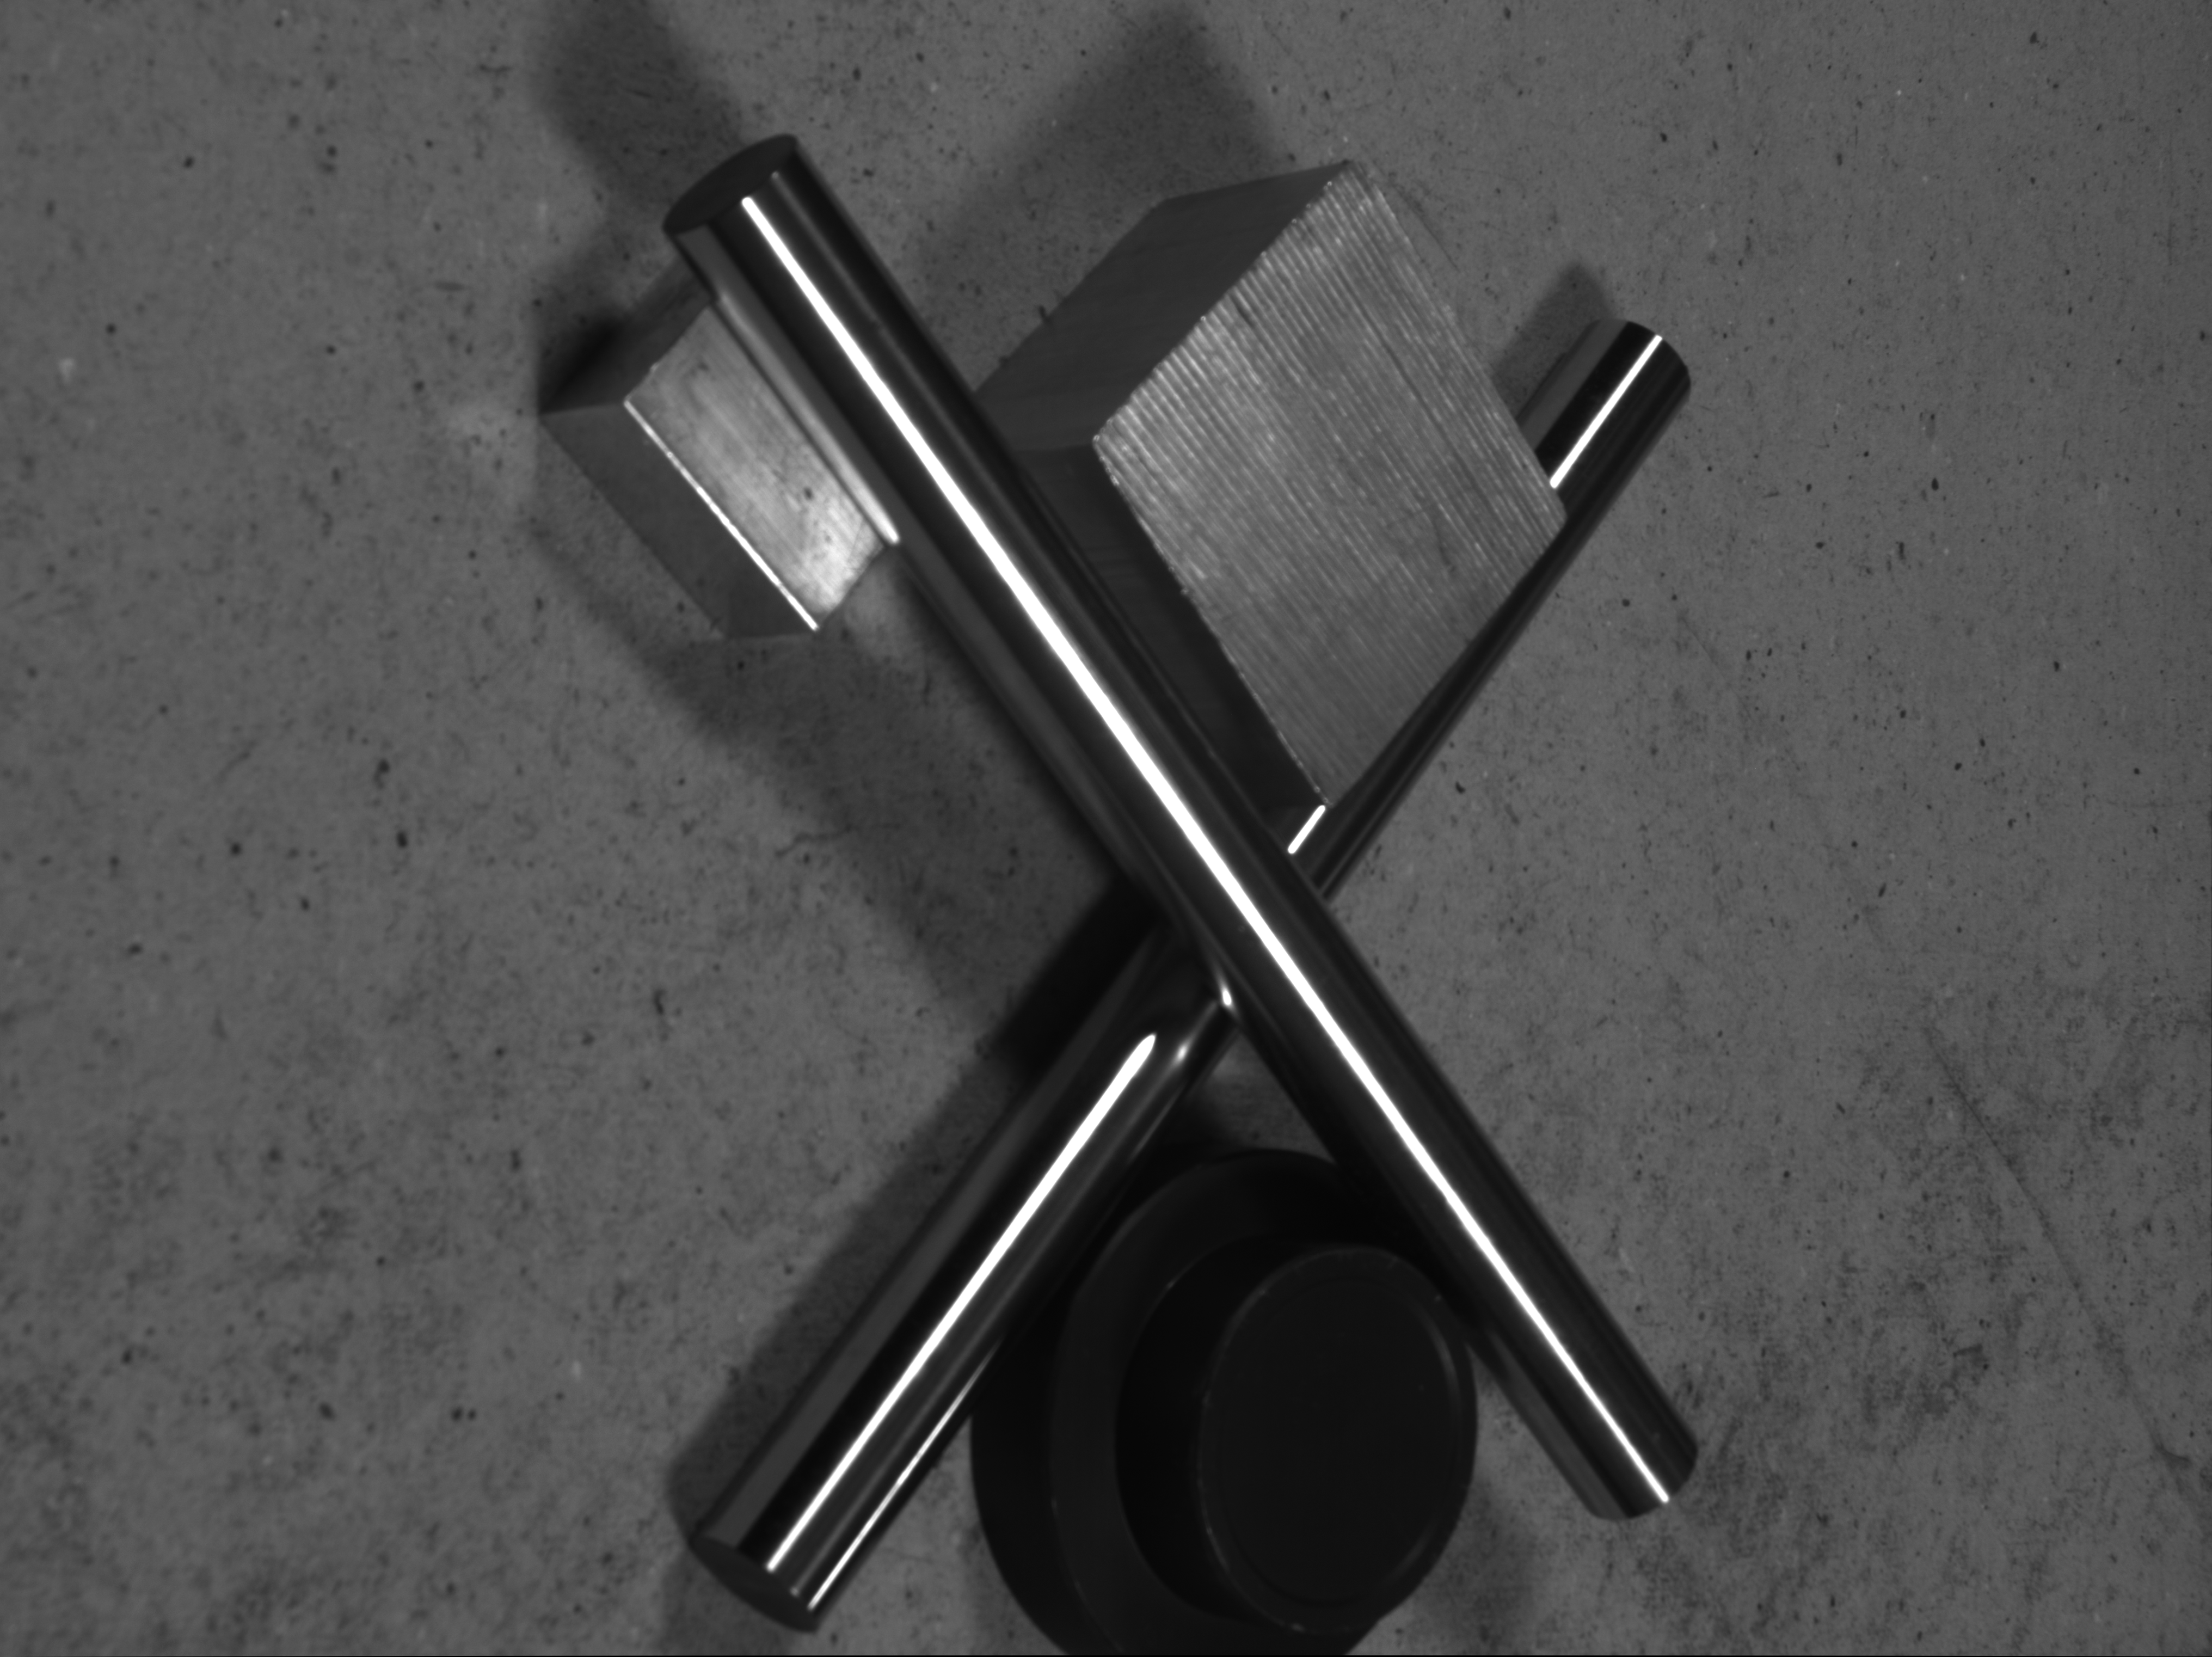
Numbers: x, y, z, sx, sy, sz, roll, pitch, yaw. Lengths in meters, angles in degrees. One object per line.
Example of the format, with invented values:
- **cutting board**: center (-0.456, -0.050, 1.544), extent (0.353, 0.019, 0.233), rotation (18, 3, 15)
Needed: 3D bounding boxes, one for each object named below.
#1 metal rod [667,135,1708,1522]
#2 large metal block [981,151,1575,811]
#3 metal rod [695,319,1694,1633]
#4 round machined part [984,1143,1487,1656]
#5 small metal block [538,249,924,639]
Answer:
- **metal rod**: center (0.023, 0.011, 0.623), extent (0.025, 0.025, 0.301), rotation (-51, 120, -28)
- **large metal block**: center (0.025, -0.059, 0.644), extent (0.080, 0.050, 0.080), rotation (-49, 119, -29)
- **metal rod**: center (0.025, 0.015, 0.660), extent (0.025, 0.025, 0.300), rotation (52, 60, -27)
- **round machined part**: center (0.029, 0.106, 0.650), extent (0.098, 0.042, 0.098), rotation (0, 90, -40)
- **small metal block**: center (-0.055, -0.067, 0.593), extent (0.050, 0.025, 0.050), rotation (51, 60, -28)
